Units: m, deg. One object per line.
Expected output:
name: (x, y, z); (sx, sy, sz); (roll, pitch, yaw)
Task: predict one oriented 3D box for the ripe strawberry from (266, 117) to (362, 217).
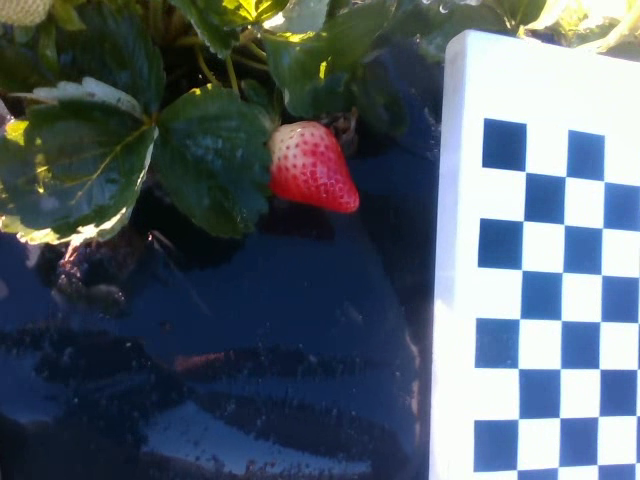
ripe strawberry: (-0.002, -0.033, 0.316); (0.065, 0.040, 0.040); (46, -16, -10)
